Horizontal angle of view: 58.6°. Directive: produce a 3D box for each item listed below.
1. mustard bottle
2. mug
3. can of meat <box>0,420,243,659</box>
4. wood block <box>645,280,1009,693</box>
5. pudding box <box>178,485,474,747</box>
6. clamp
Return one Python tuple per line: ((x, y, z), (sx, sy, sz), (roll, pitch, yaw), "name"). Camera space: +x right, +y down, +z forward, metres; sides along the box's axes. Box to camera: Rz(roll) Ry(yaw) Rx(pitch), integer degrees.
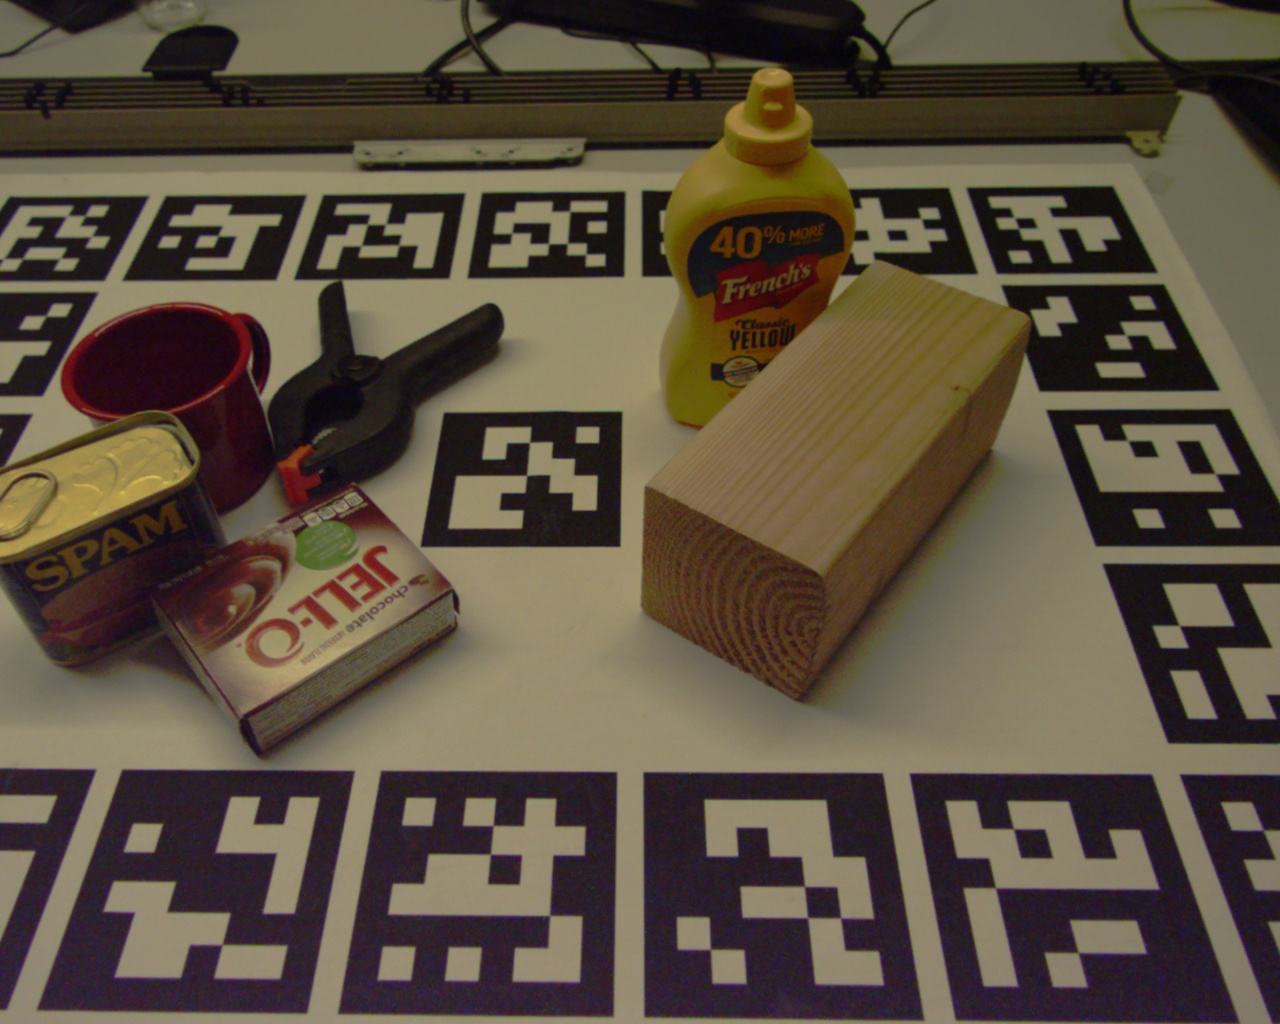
((0.054, -0.135, 0.615), (0.096, 0.191, 0.059), (-5, 49, -3), "mustard bottle")
((-0.242, -0.047, 0.649), (0.094, 0.081, 0.117), (16, 52, 14), "mug")
((-0.251, 0.015, 0.556), (0.101, 0.083, 0.058), (-25, 54, -20), "can of meat")
((0.097, -0.021, 0.587), (0.091, 0.090, 0.205), (27, 52, 25), "wood block")
((-0.152, 0.048, 0.561), (0.113, 0.038, 0.091), (-33, 56, -27), "pudding box")
((-0.160, -0.075, 0.678), (0.122, 0.036, 0.165), (14, 52, 11), "clamp")
